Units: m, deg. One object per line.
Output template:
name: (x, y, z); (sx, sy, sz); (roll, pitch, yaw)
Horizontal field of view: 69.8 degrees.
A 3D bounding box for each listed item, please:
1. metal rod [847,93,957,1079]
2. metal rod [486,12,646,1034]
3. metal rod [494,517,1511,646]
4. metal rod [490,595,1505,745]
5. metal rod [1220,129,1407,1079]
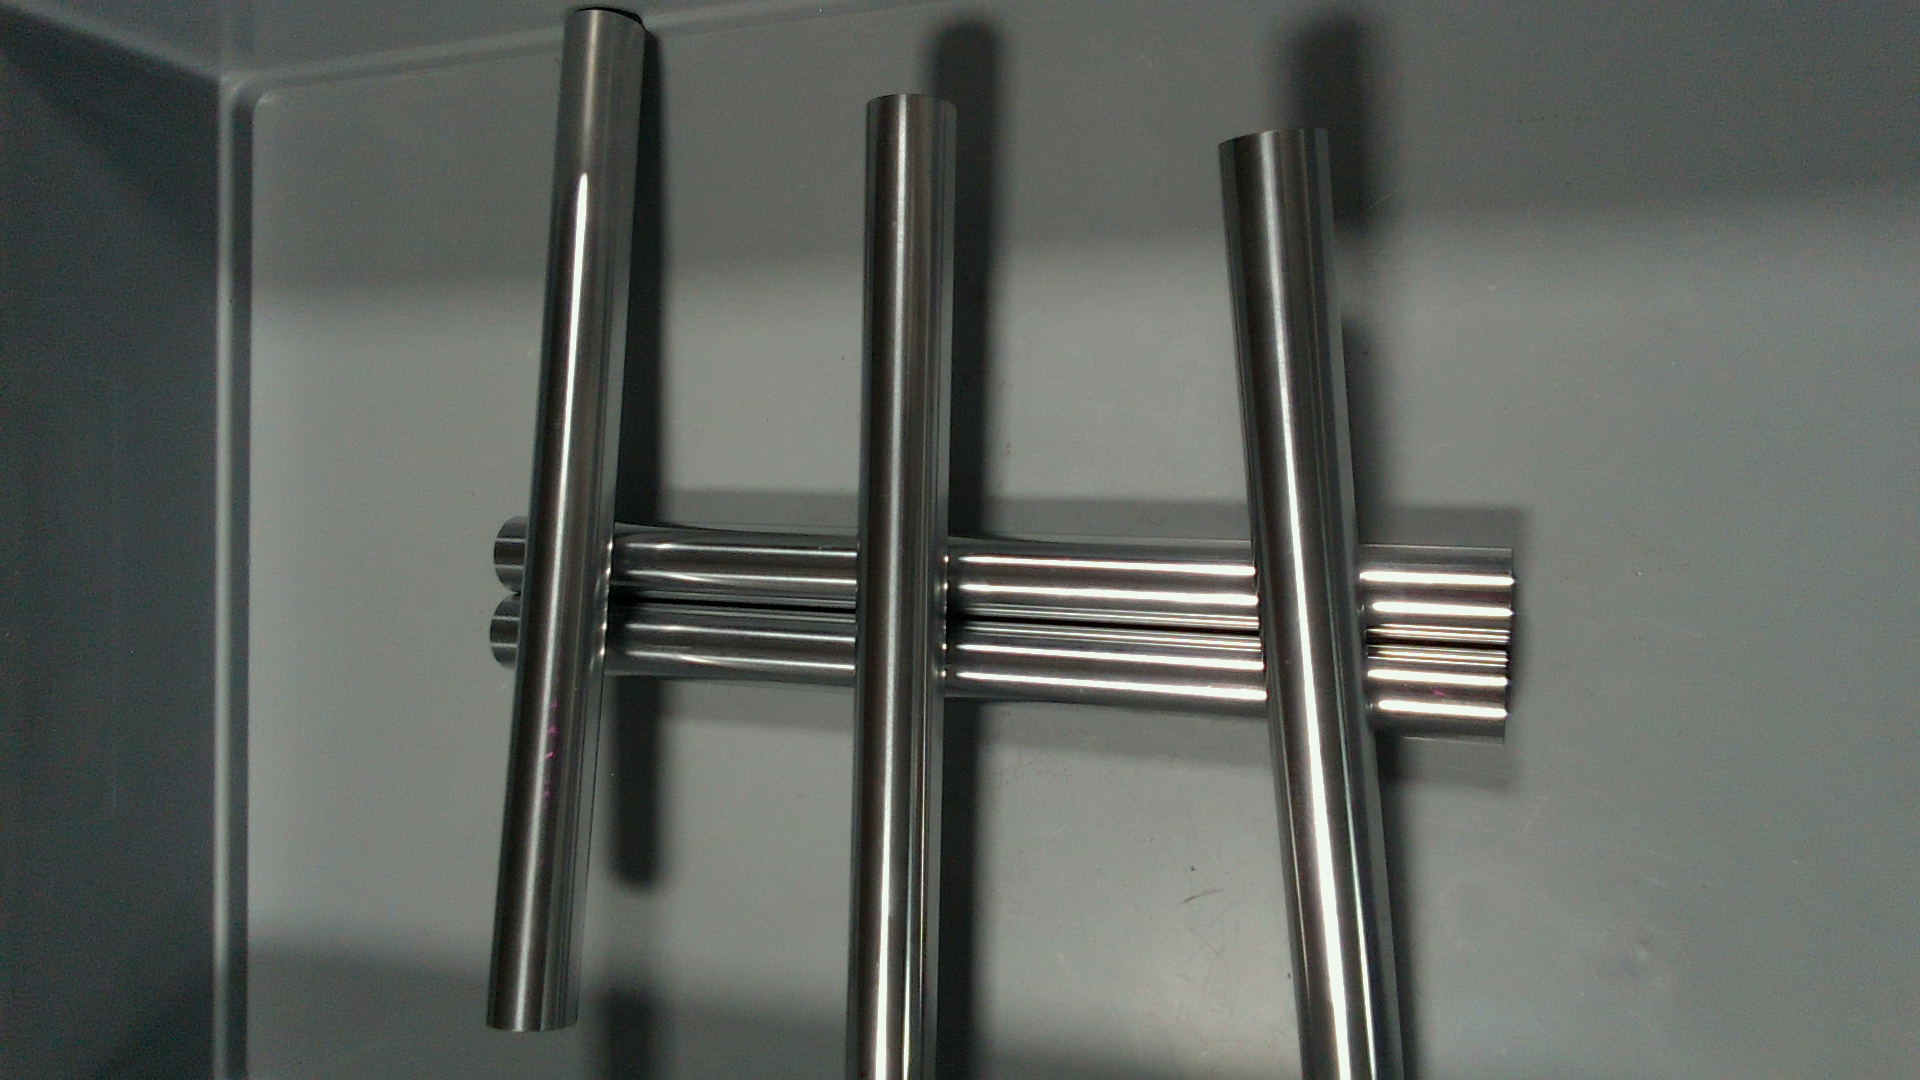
metal rod: (-0.016, 0.033, 0.375); (0.025, 0.025, 0.300); (1, 91, 20)
metal rod: (-0.116, -0.011, 0.411); (0.025, 0.025, 0.300); (-1, 82, 20)
metal rod: (-0.003, 0.010, 0.396); (0.299, 0.025, 0.025); (2, 91, 20)
metal rod: (-0.004, 0.034, 0.397); (0.299, 0.025, 0.025); (2, 91, 20)
metal rod: (0.091, 0.055, 0.338); (0.025, 0.025, 0.300); (-4, 97, 20)
